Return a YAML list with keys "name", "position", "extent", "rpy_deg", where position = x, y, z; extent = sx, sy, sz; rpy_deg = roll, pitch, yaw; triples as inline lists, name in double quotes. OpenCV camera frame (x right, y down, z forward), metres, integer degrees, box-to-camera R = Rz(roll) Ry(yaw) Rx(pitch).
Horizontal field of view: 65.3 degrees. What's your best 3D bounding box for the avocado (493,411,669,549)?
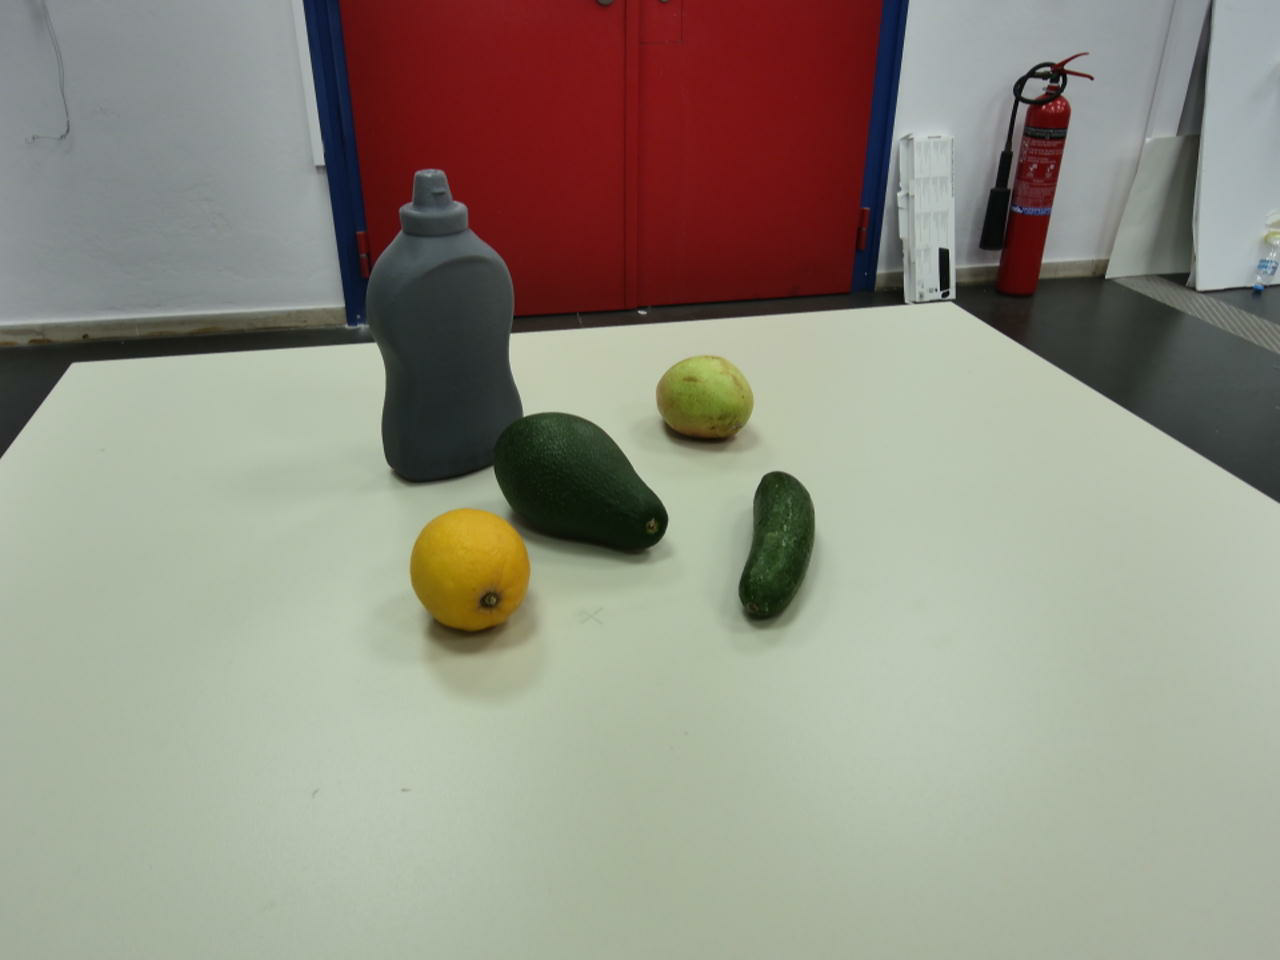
- name: "avocado"
  position: [-0.038, 0.001, 0.581]
  extent: [0.072, 0.071, 0.109]
  rpy_deg: [-18, 31, -31]
